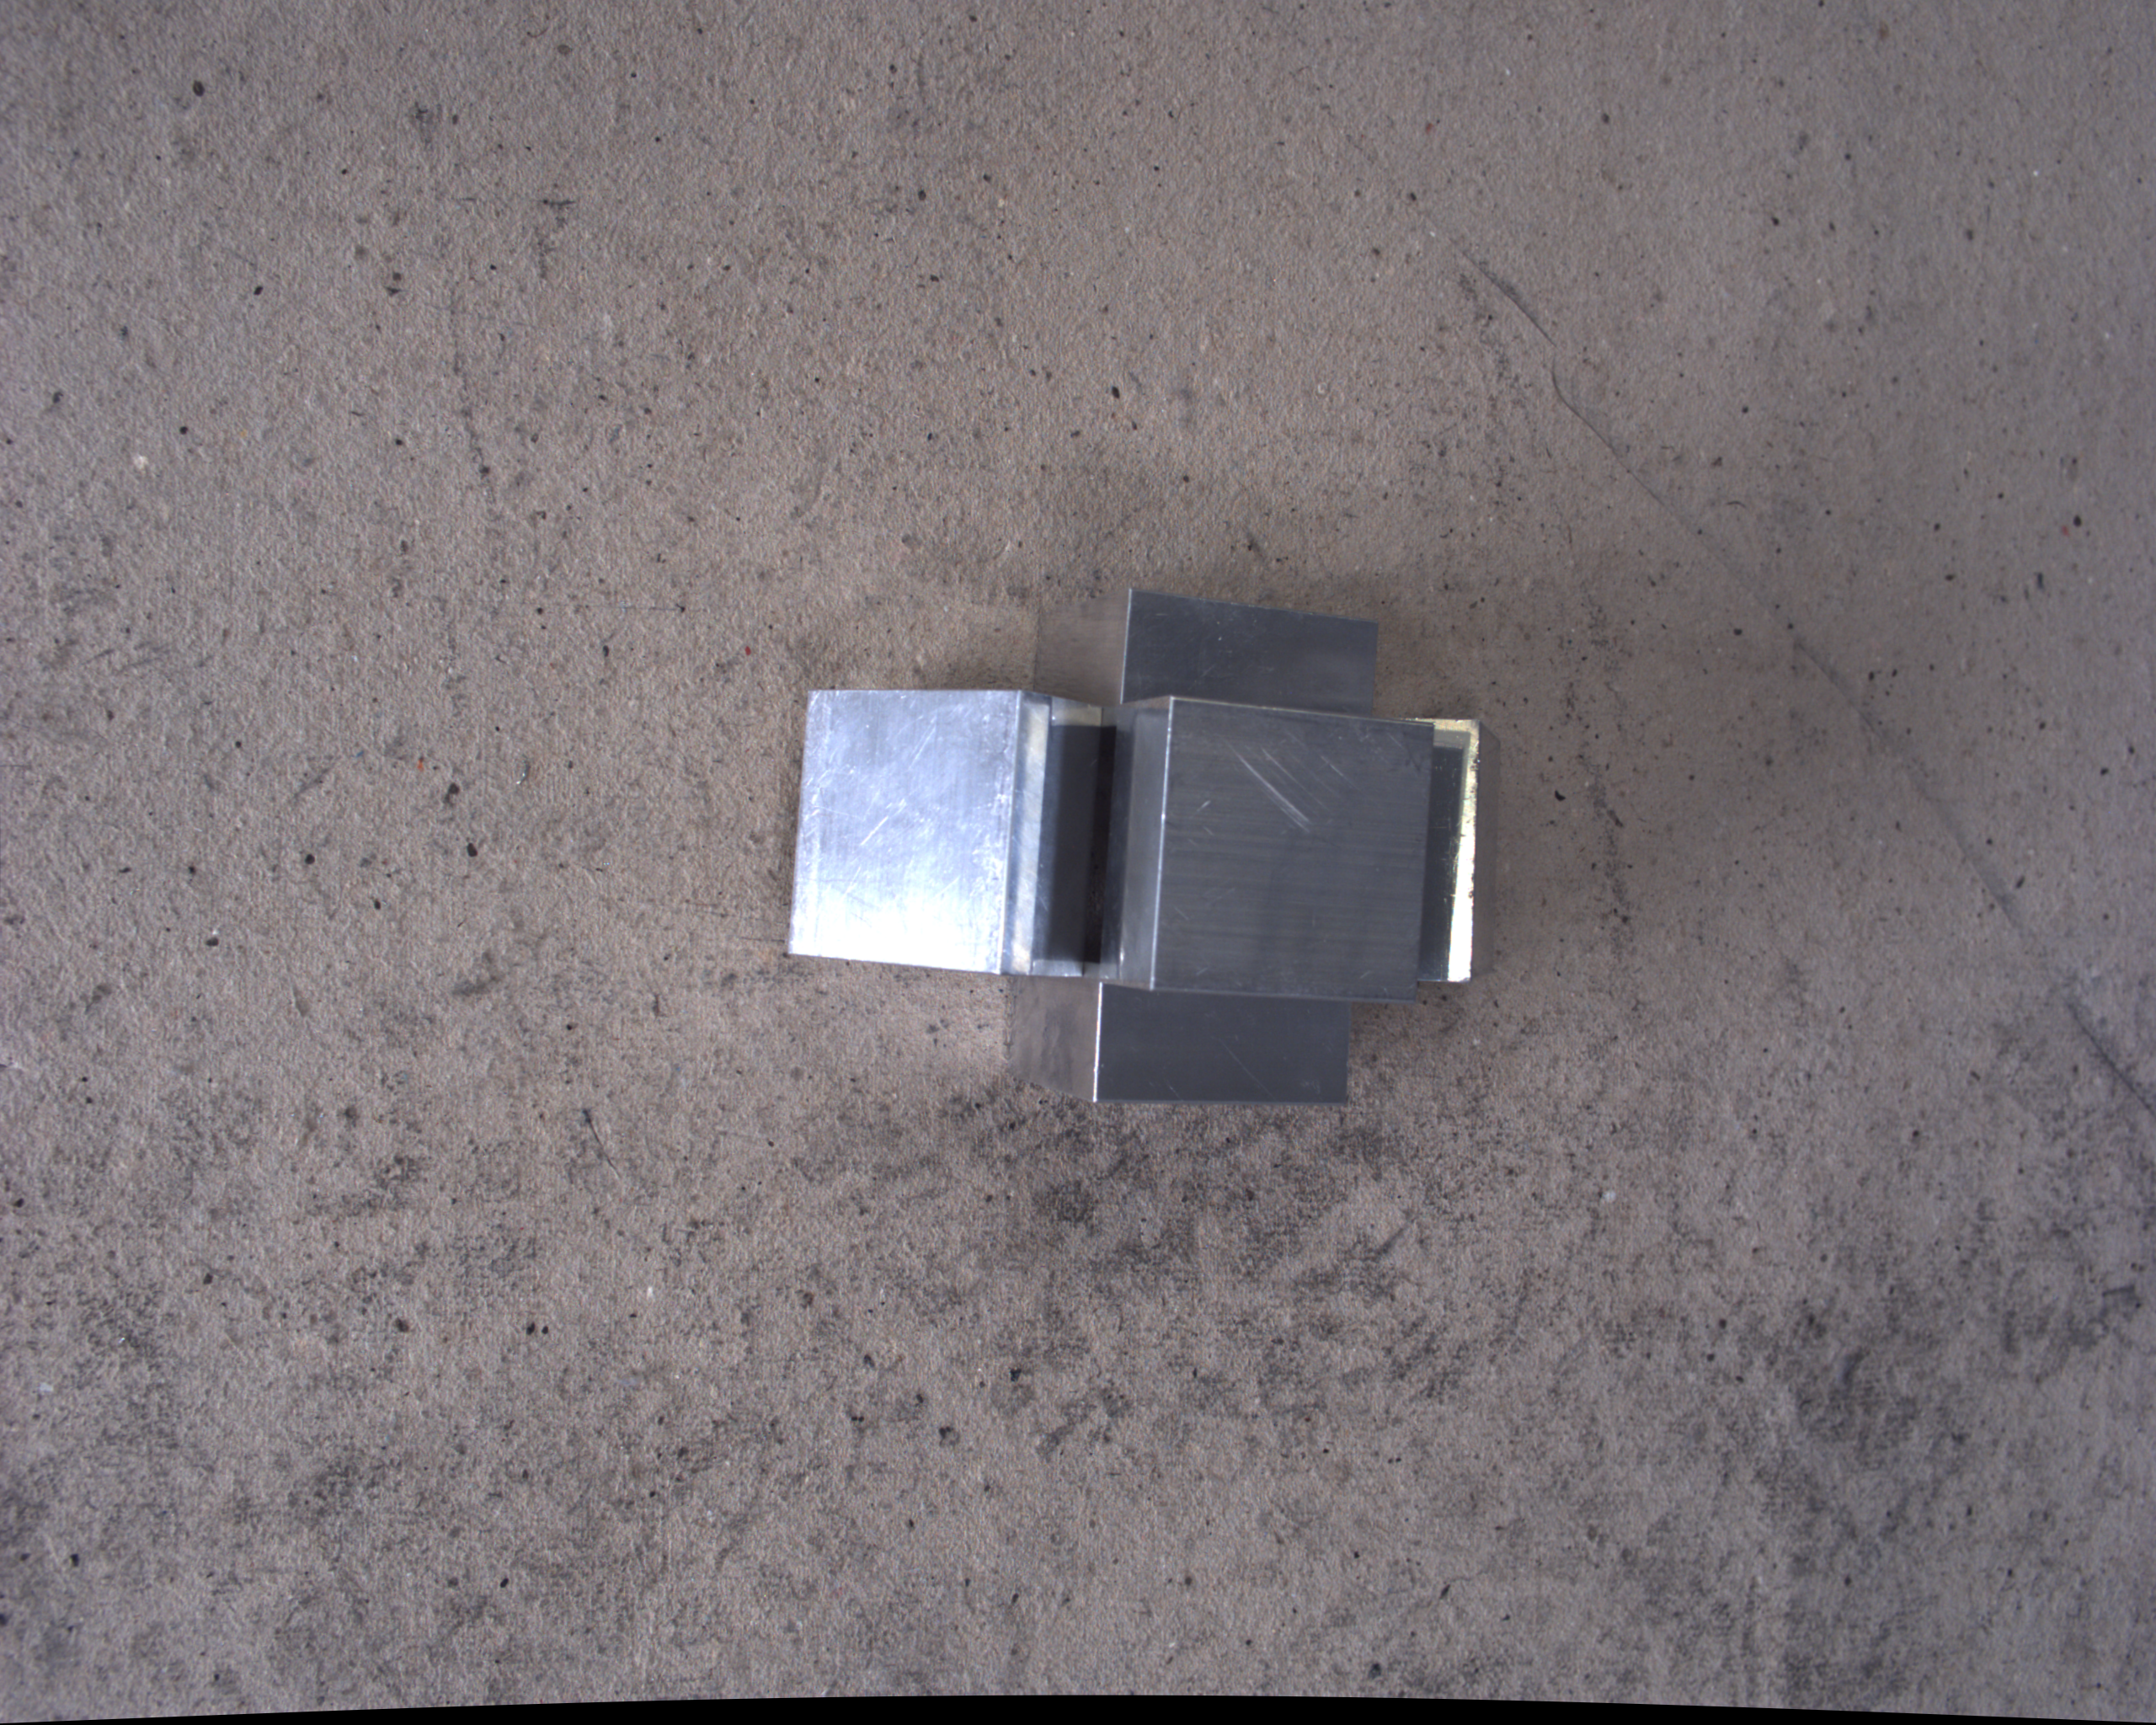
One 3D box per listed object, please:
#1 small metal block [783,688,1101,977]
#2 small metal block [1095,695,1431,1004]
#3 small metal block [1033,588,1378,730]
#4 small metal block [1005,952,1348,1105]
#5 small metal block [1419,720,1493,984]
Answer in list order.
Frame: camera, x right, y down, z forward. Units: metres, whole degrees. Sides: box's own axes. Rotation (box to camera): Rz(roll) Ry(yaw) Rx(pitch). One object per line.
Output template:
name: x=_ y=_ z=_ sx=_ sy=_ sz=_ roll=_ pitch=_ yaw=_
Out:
small metal block: x=-0.025 y=-0.006 z=0.386 sx=0.025 sy=0.050 sz=0.050 roll=6 pitch=88 yaw=-55
small metal block: x=0.033 y=-0.002 z=0.370 sx=0.050 sy=0.025 sz=0.050 roll=4 pitch=89 yaw=-20
small metal block: x=0.023 y=-0.035 z=0.406 sx=0.050 sy=0.050 sz=0.025 roll=5 pitch=89 yaw=-20
small metal block: x=0.018 y=0.031 z=0.404 sx=0.050 sy=0.050 sz=0.025 roll=3 pitch=90 yaw=-20
small metal block: x=0.069 y=-0.002 z=0.420 sx=0.025 sy=0.050 sz=0.050 roll=2 pitch=90 yaw=15
